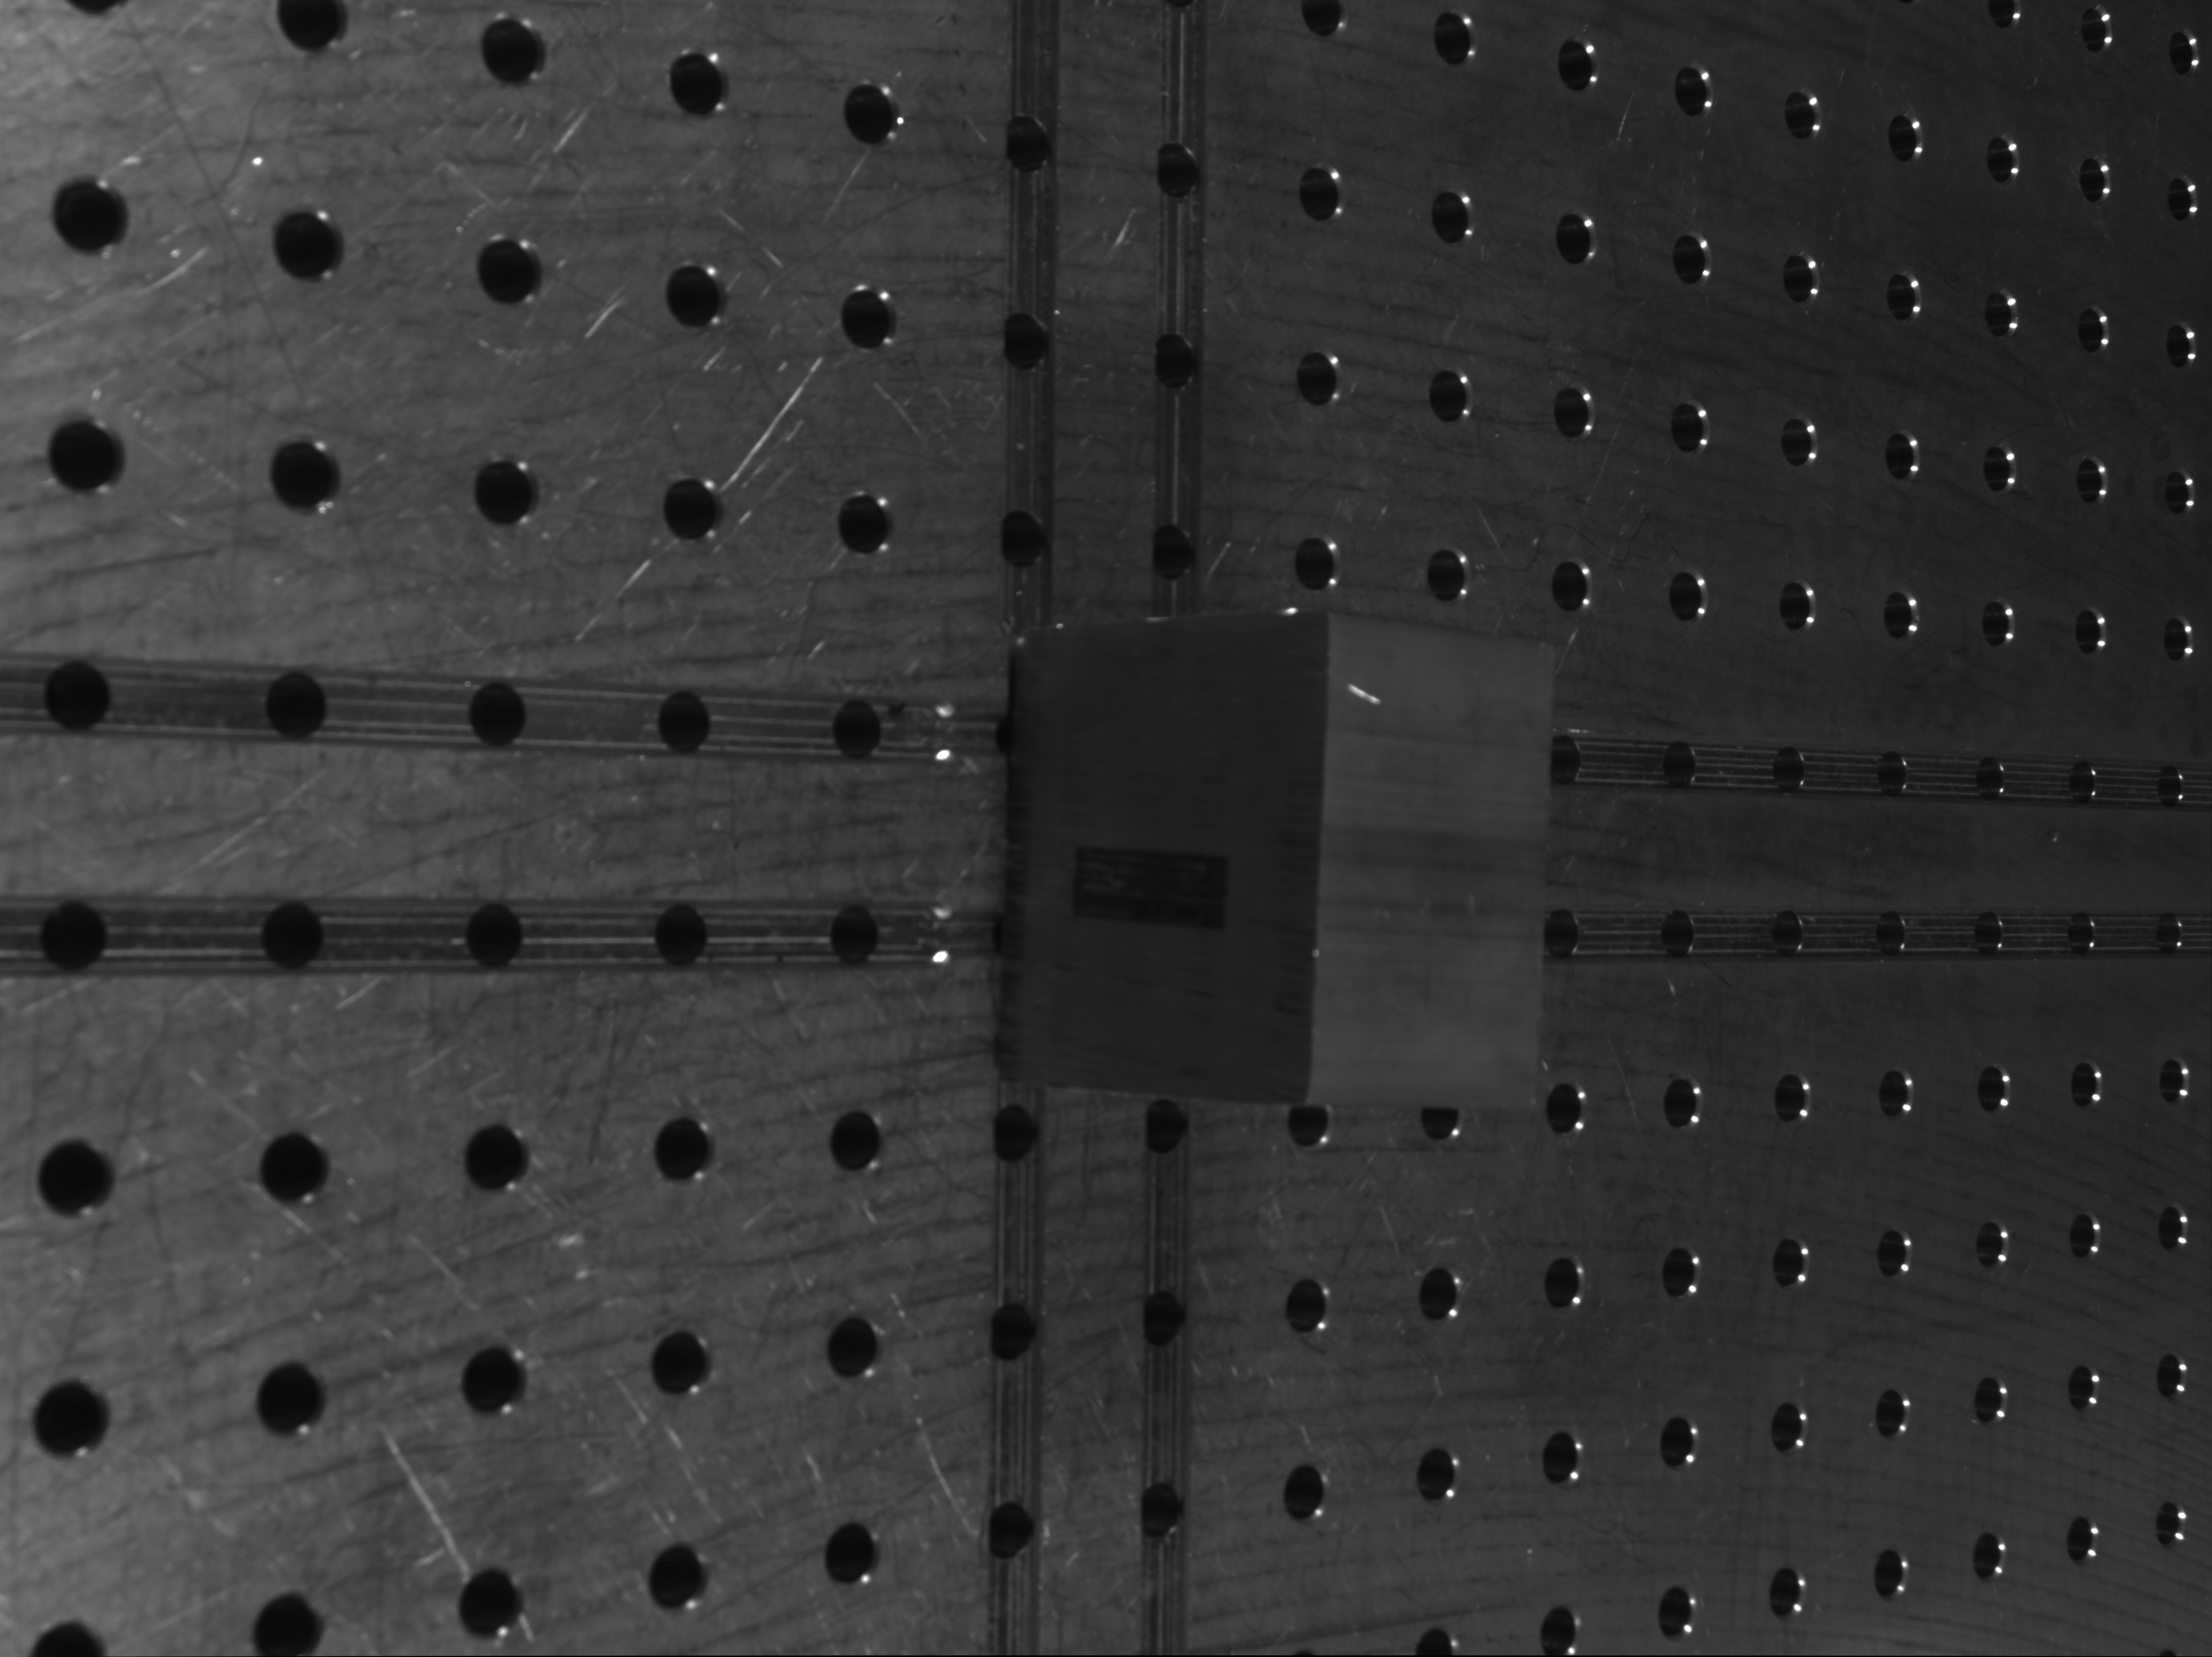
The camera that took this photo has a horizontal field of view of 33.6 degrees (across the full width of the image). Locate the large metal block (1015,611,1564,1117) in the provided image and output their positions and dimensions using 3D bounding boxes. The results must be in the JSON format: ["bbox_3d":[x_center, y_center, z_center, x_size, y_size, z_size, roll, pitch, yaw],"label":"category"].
[{"bbox_3d":[0.031,0.007,0.629,0.050,0.080,0.080,5,87,-40],"label":"large metal block"}]
